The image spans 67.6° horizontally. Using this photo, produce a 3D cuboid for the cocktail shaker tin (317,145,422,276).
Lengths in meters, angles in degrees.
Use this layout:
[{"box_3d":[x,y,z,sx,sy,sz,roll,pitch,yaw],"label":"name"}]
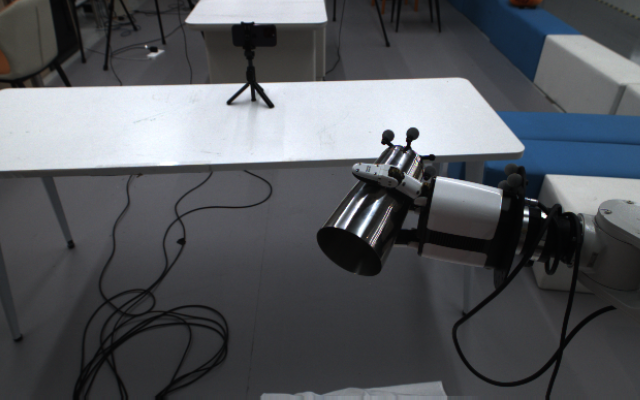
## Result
[{"box_3d":[0.080,0.002,0.639,0.093,0.093,0.170,19,54,22],"label":"cocktail shaker tin"}]
